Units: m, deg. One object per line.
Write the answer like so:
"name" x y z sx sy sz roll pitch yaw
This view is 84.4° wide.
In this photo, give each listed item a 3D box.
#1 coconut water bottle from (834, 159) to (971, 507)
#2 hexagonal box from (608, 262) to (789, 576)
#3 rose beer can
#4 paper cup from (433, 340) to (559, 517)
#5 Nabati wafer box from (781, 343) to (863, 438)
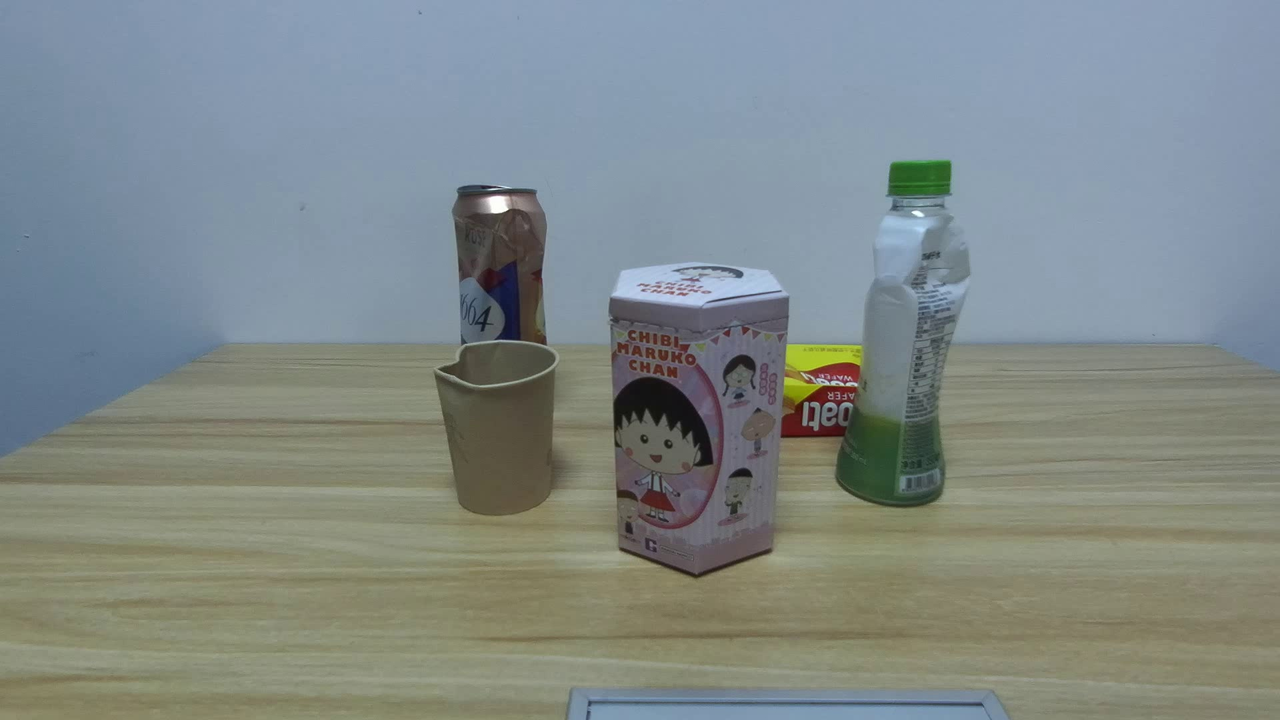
"coconut water bottle" 0.148 -0.015 0.396 0.067 0.187 0.067 -1 17 0
"hexagonal box" 0.028 0.027 0.355 0.091 0.136 0.084 11 21 30
"rose beer can" -0.098 -0.039 0.511 0.065 0.167 0.075 -5 15 -22
"paper cup" -0.079 0.038 0.406 0.073 0.081 0.069 15 24 37
"Nabati wafer box" 0.098 0.023 0.526 0.203 0.042 0.096 -3 14 1
